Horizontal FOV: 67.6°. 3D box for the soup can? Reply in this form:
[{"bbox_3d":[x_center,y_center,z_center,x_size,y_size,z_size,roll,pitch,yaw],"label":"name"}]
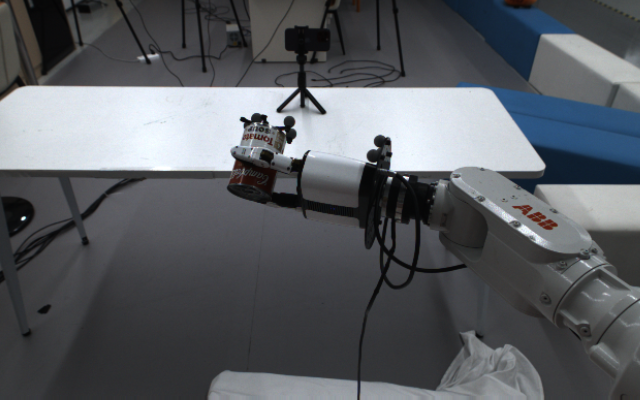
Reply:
[{"bbox_3d":[-0.093,-0.055,0.724,0.067,0.067,0.101,9,72,10],"label":"soup can"}]
